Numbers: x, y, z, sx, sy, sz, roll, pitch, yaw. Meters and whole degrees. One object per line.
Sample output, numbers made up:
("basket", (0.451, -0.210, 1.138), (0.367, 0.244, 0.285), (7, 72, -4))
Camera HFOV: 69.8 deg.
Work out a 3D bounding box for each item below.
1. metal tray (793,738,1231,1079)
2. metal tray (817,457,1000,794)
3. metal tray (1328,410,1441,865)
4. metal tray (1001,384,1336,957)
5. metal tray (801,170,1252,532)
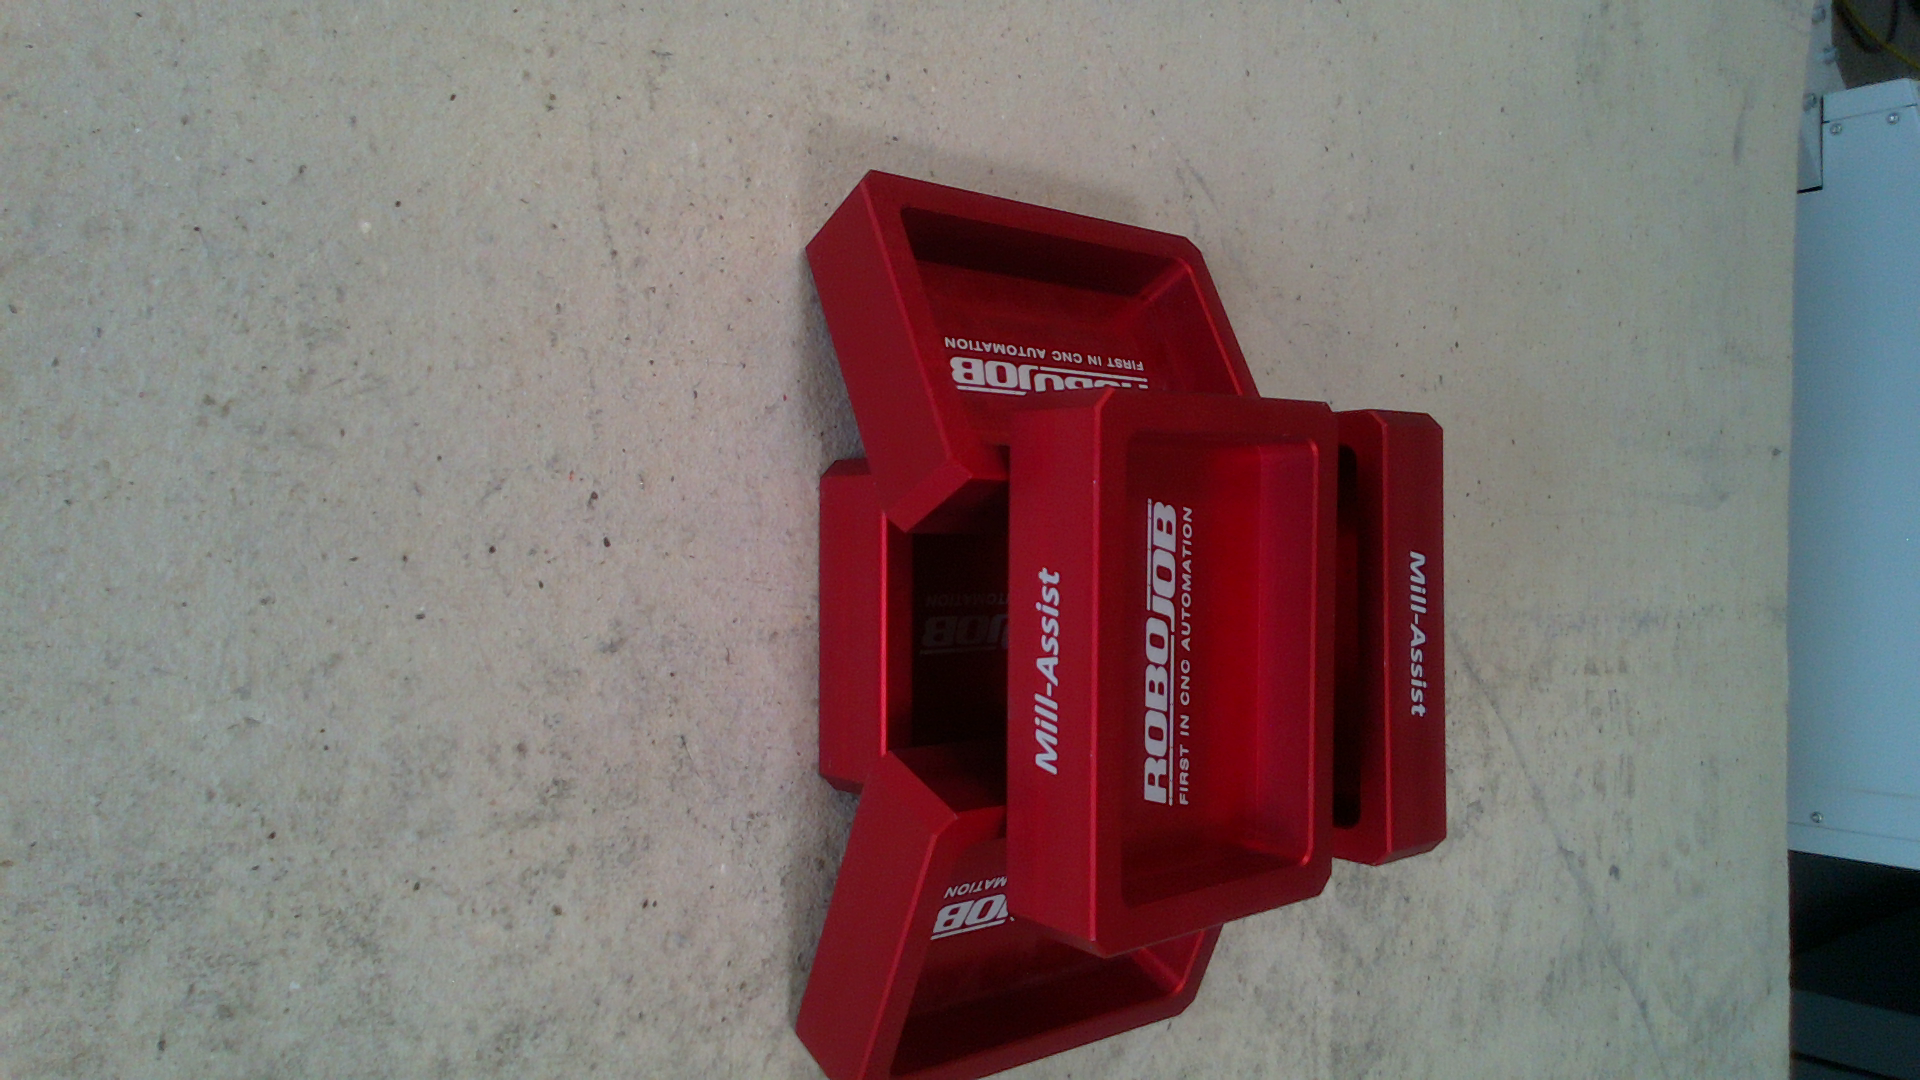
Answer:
("metal tray", (0.025, 0.099, 0.384), (0.131, 0.030, 0.090), (0, 115, -40))
("metal tray", (0.021, 0.022, 0.401), (0.131, 0.030, 0.090), (-1, 92, -40))
("metal tray", (0.103, 0.027, 0.432), (0.030, 0.090, 0.130), (-1, 91, -40))
("metal tray", (0.054, 0.029, 0.347), (0.090, 0.030, 0.130), (-1, 93, -40))
("metal tray", (0.027, -0.049, 0.386), (0.131, 0.030, 0.090), (0, 63, -40))
